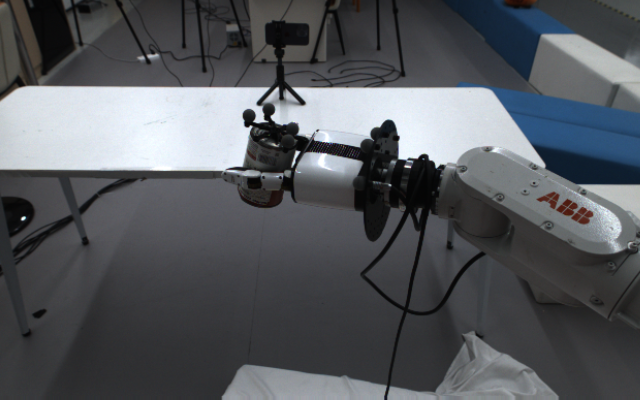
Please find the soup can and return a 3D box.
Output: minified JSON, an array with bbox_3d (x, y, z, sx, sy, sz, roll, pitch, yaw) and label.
[{"bbox_3d":[-0.073,-0.049,0.678,0.067,0.101,0.067,13,35,-9],"label":"soup can"}]
